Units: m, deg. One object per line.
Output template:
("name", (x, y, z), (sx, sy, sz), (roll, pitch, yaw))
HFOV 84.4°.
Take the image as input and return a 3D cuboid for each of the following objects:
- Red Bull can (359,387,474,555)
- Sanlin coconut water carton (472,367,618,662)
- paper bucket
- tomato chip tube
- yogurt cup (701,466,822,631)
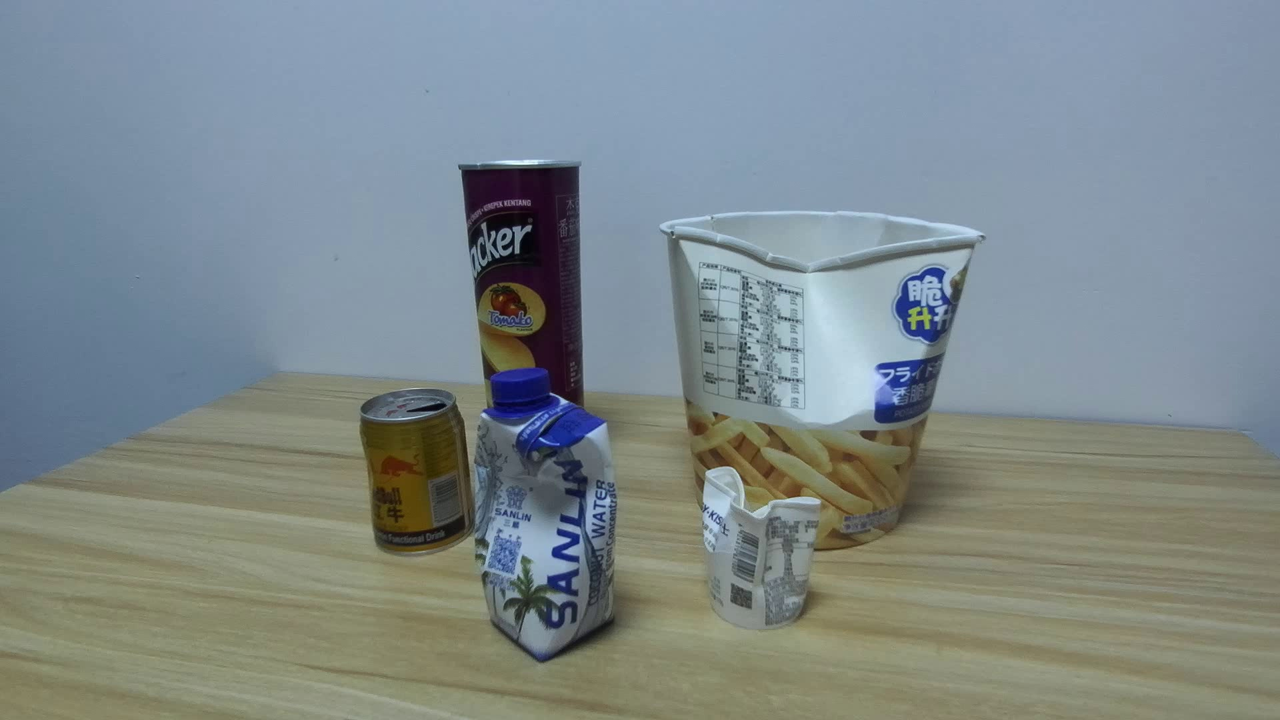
("Red Bull can", (-0.149, 0.073, 0.467), (0.068, 0.093, 0.068), (-2, 16, 1))
("Sanlin coconut water carton", (-0.049, 0.079, 0.353), (0.057, 0.145, 0.068), (-24, 35, -37))
("paper bucket", (0.101, 0.005, 0.479), (0.163, 0.202, 0.168), (-8, 16, -16))
("tomato chip tube", (-0.084, -0.029, 0.541), (0.077, 0.234, 0.080), (-13, 19, -40))
("yogurt cup", (0.063, 0.101, 0.384), (0.055, 0.072, 0.054), (-10, 21, -15))
